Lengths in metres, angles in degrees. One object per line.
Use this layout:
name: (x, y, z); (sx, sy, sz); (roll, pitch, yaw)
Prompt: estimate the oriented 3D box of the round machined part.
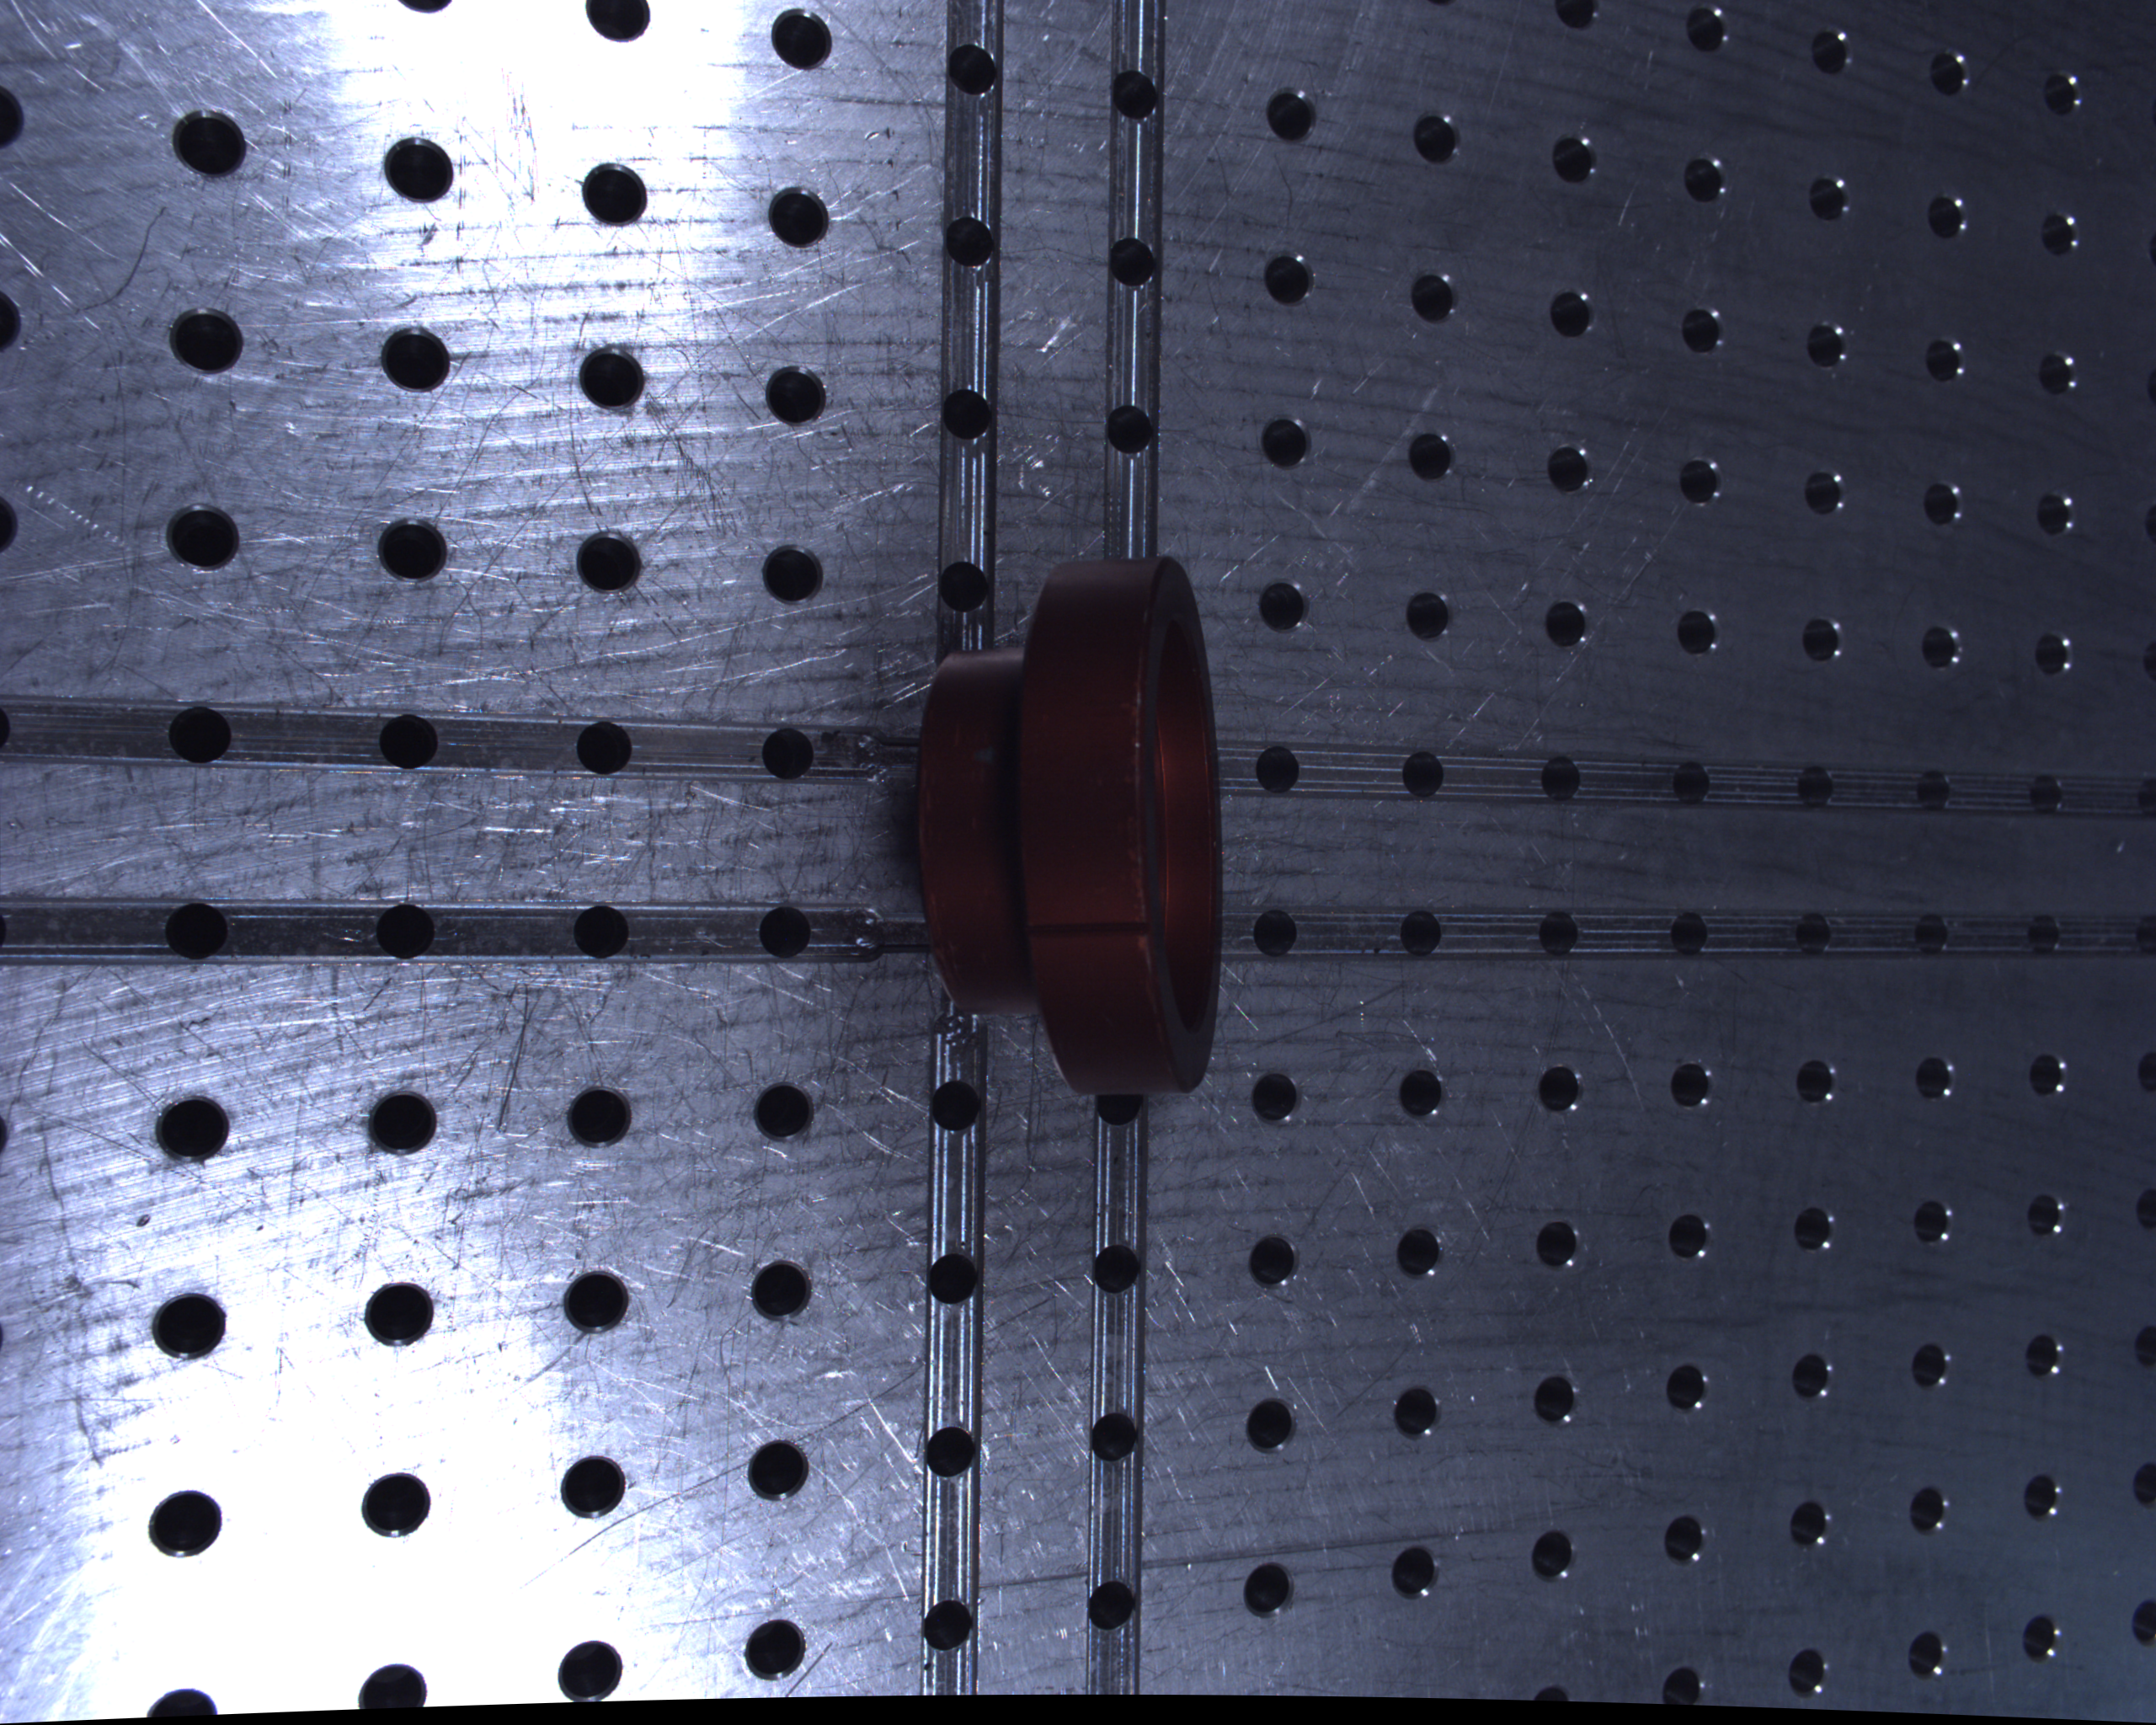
round machined part: (-0.001, -0.006, 0.384); (0.042, 0.098, 0.097); (-2, 91, 11)
